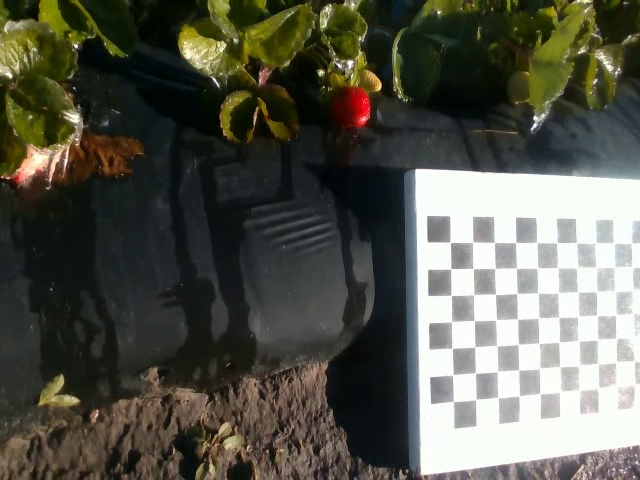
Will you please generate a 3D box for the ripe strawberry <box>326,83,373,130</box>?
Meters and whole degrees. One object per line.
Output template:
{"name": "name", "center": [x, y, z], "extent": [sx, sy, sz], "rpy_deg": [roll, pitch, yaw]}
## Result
{"name": "ripe strawberry", "center": [0.025, -0.089, 0.444], "extent": [0.039, 0.040, 0.039], "rpy_deg": [-10, 26, -11]}
